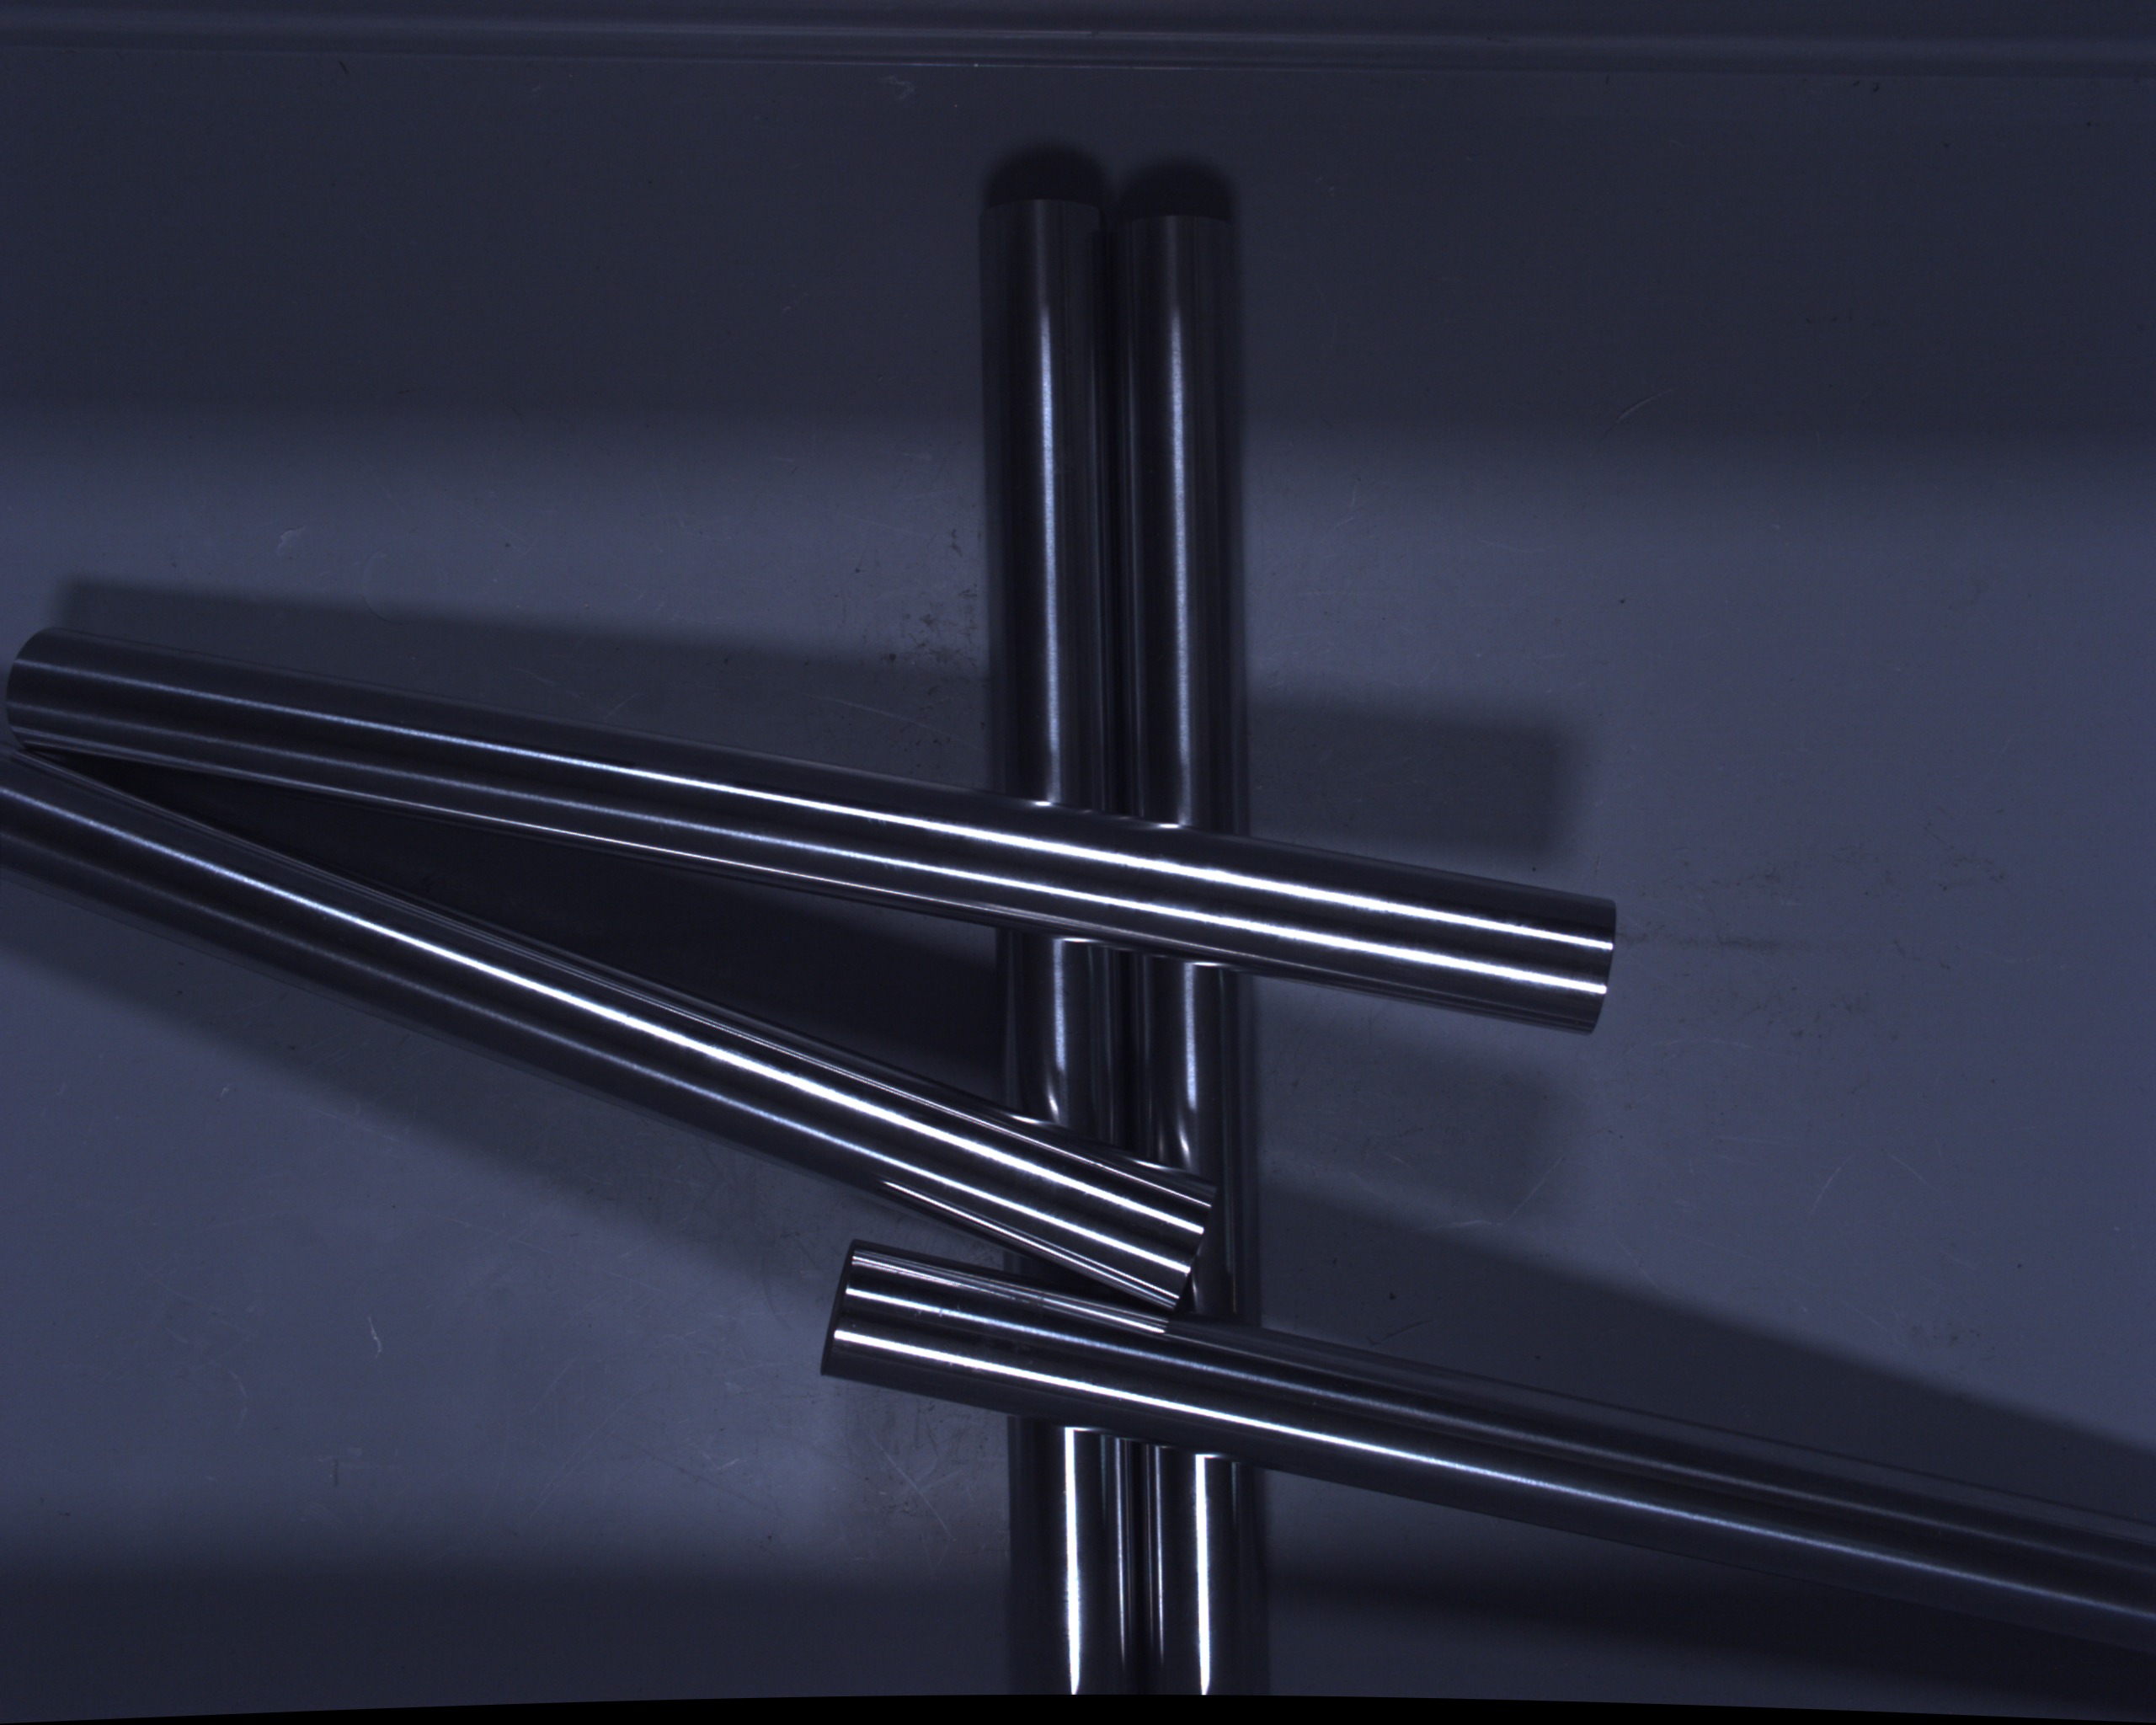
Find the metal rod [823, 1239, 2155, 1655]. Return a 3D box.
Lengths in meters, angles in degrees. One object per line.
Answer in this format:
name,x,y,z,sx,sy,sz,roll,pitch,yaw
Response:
metal rod,0.103,0.116,0.394,0.302,0.025,0.025,13,90,-6

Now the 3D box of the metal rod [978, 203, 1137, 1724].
metal rod,-0.004,0.024,0.408,0.025,0.025,0.298,-1,90,-1

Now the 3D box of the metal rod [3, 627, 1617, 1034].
metal rod,-0.054,-0.008,0.390,0.302,0.025,0.025,10,90,6

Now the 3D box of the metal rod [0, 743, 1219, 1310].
metal rod,-0.120,0.021,0.396,0.301,0.025,0.025,19,90,5

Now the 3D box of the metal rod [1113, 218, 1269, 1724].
metal rod,0.022,0.026,0.409,0.025,0.025,0.298,-1,90,-1
